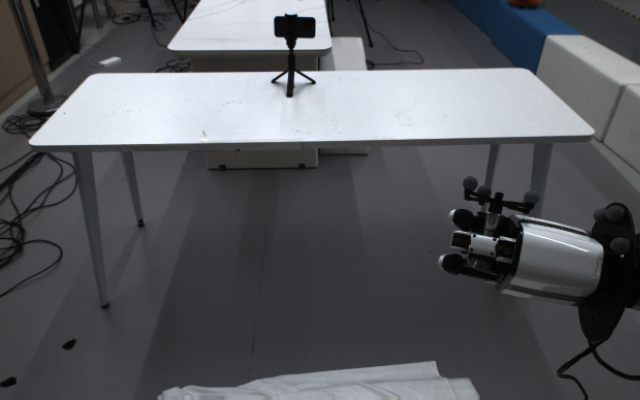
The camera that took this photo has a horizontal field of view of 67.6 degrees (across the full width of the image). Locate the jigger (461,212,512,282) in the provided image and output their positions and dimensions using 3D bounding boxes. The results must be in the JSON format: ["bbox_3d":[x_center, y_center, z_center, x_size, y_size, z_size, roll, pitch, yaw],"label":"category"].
[{"bbox_3d":[0.203,0.051,0.581,0.043,0.071,0.043,16,-7,2],"label":"jigger"}]
